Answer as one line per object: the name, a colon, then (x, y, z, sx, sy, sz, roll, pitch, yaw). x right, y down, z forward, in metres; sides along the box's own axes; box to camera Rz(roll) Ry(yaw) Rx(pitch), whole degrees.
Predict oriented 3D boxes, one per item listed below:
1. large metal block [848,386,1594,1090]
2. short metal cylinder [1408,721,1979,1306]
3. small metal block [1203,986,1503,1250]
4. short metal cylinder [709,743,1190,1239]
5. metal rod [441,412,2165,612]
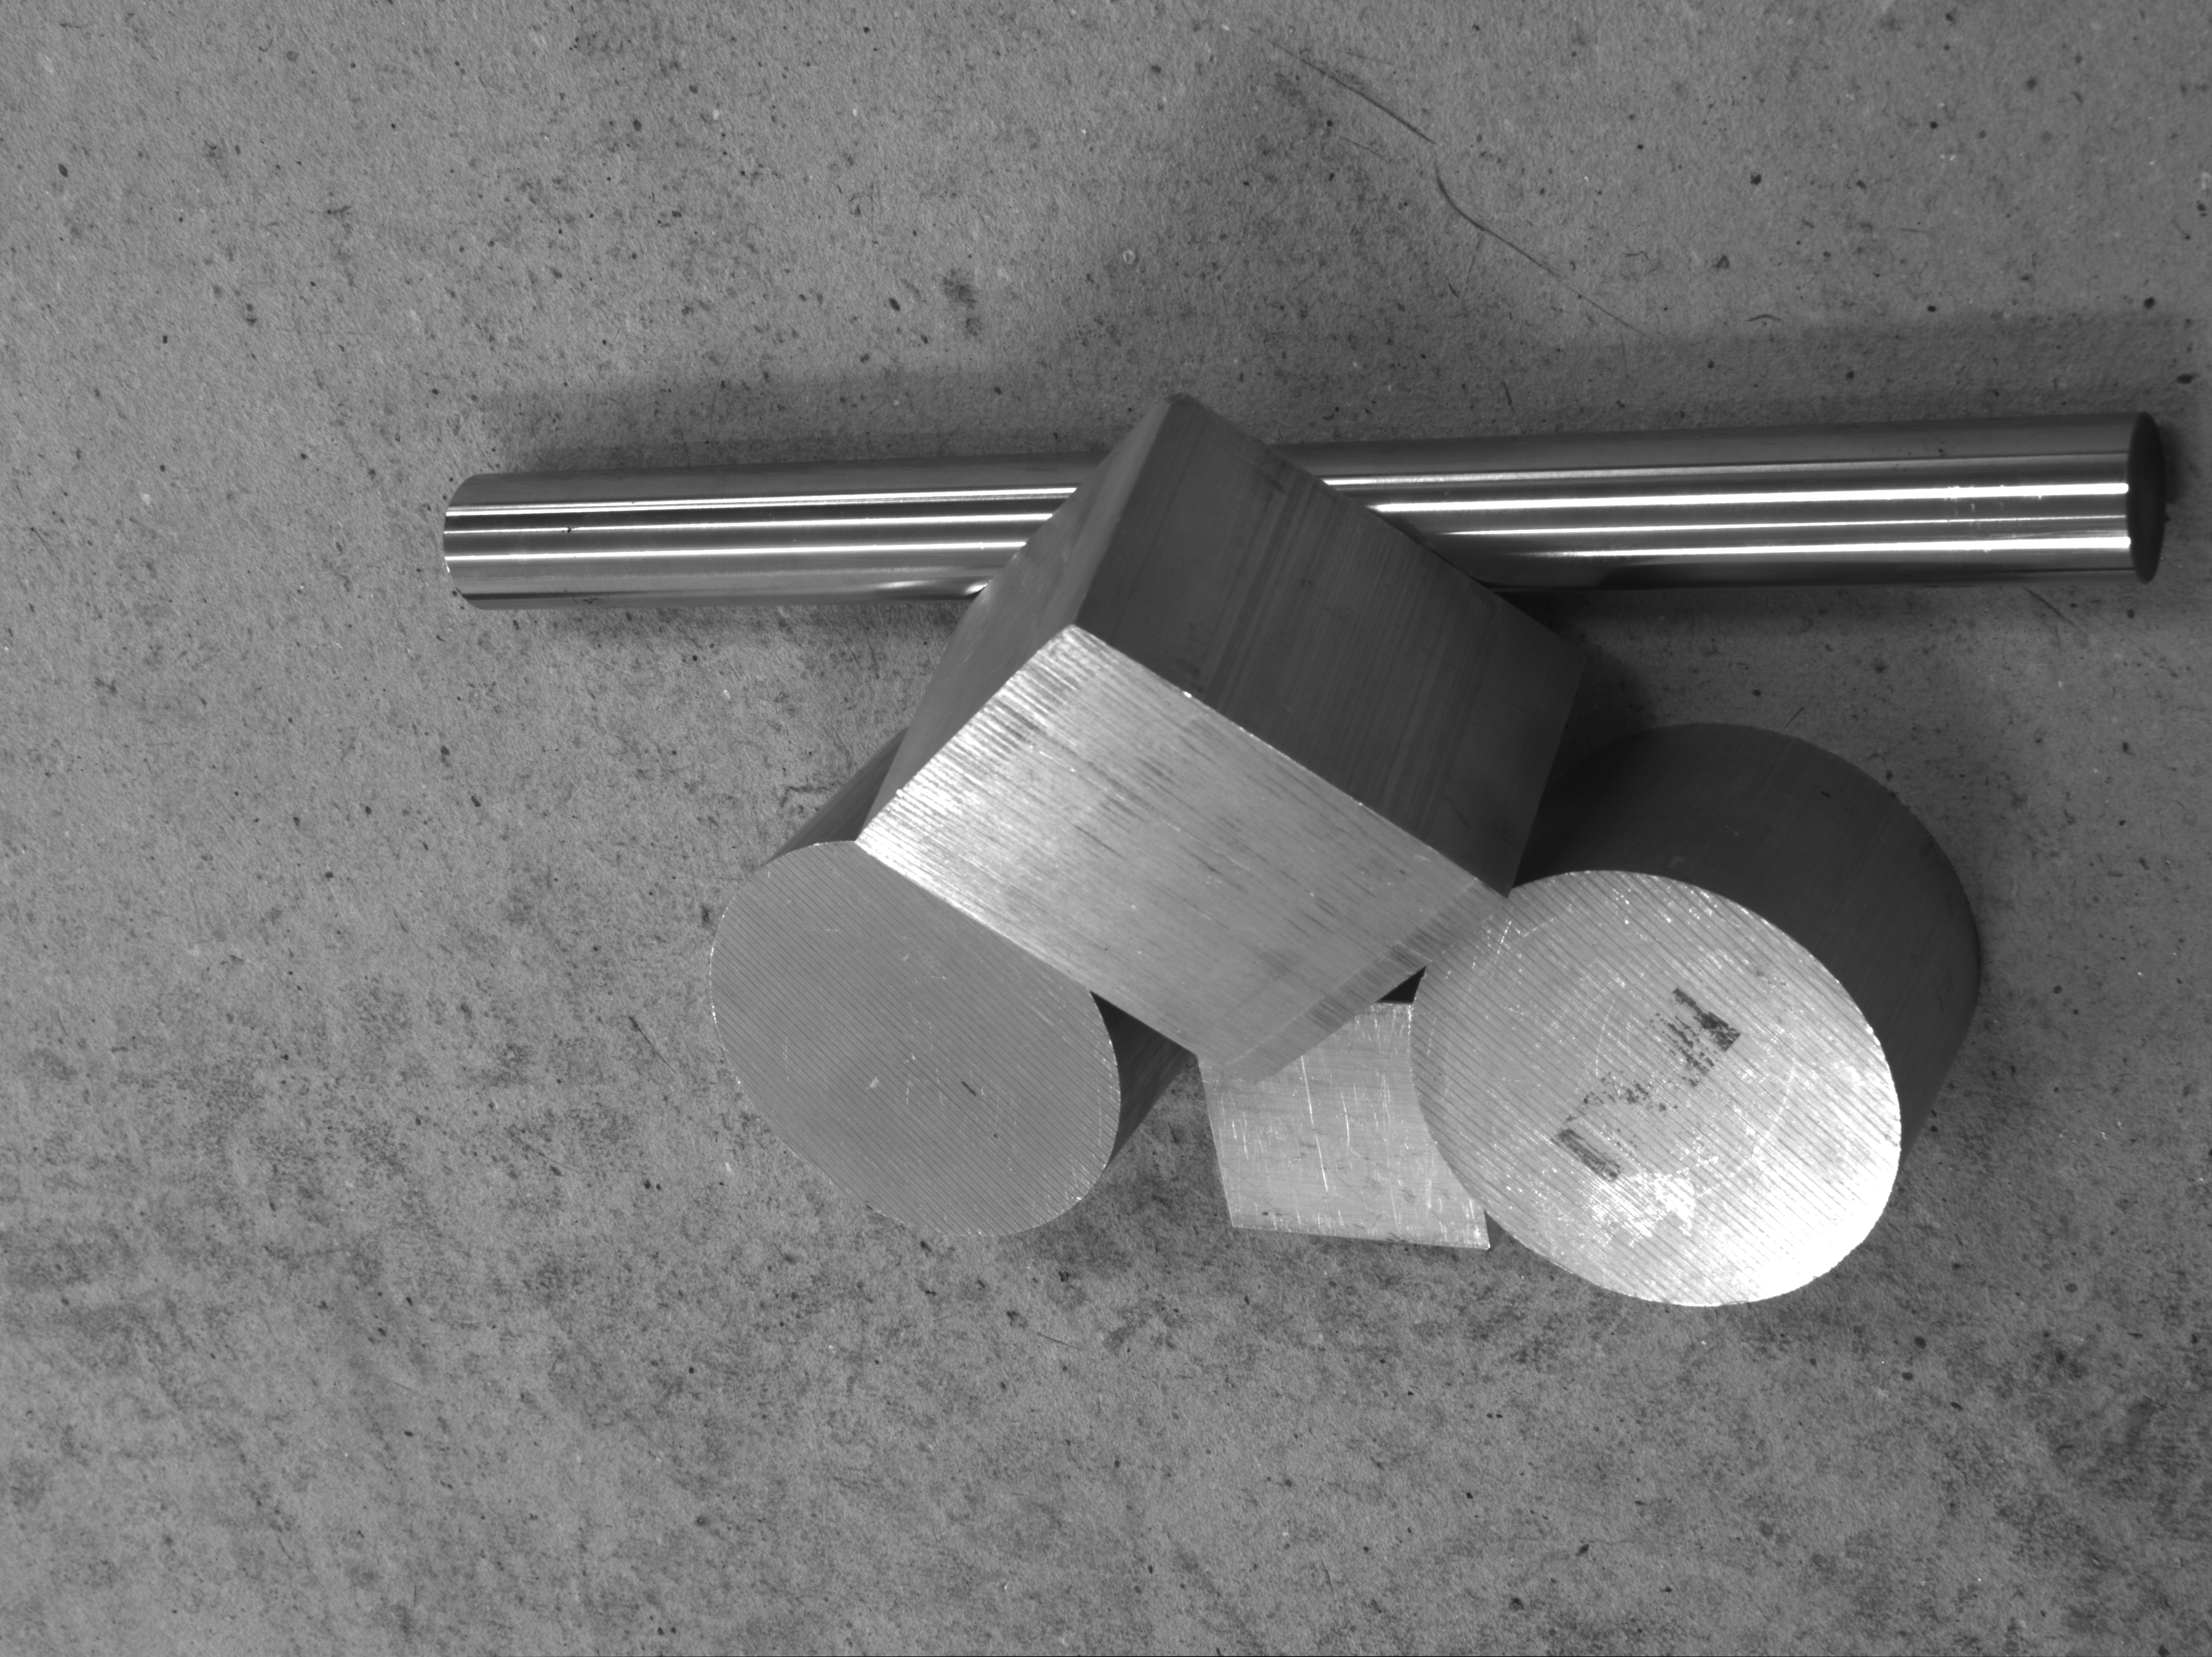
large metal block: (0.018, -0.012, 0.588, 0.080, 0.050, 0.080, 32, 144, -13)
short metal cylinder: (0.095, 0.030, 0.594, 0.080, 0.050, 0.080, 13, 124, 21)
small metal block: (0.046, 0.044, 0.647, 0.050, 0.025, 0.050, 2, 119, 27)
short metal cylinder: (-0.023, 0.026, 0.655, 0.080, 0.050, 0.080, 13, 124, 21)
metal rod: (0.019, -0.050, 0.602, 0.299, 0.025, 0.025, 1, 119, 28)
